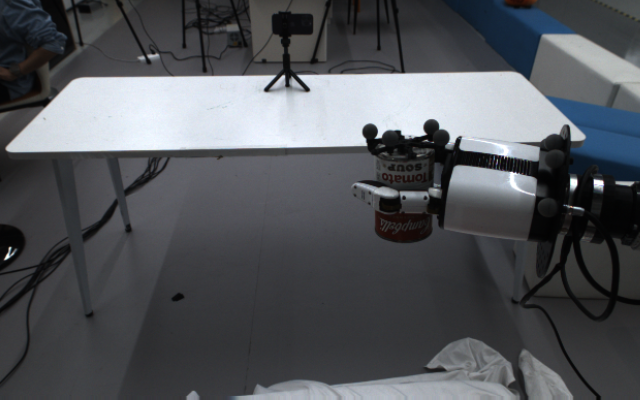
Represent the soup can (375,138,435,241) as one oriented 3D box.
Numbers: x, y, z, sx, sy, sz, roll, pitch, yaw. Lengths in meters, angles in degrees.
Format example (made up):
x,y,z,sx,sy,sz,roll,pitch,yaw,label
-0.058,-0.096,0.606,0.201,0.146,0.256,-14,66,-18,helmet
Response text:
x,y,z,sx,sy,sz,roll,pitch,yaw,label
0.097,-0.012,0.551,0.067,0.101,0.067,-3,26,2,soup can
